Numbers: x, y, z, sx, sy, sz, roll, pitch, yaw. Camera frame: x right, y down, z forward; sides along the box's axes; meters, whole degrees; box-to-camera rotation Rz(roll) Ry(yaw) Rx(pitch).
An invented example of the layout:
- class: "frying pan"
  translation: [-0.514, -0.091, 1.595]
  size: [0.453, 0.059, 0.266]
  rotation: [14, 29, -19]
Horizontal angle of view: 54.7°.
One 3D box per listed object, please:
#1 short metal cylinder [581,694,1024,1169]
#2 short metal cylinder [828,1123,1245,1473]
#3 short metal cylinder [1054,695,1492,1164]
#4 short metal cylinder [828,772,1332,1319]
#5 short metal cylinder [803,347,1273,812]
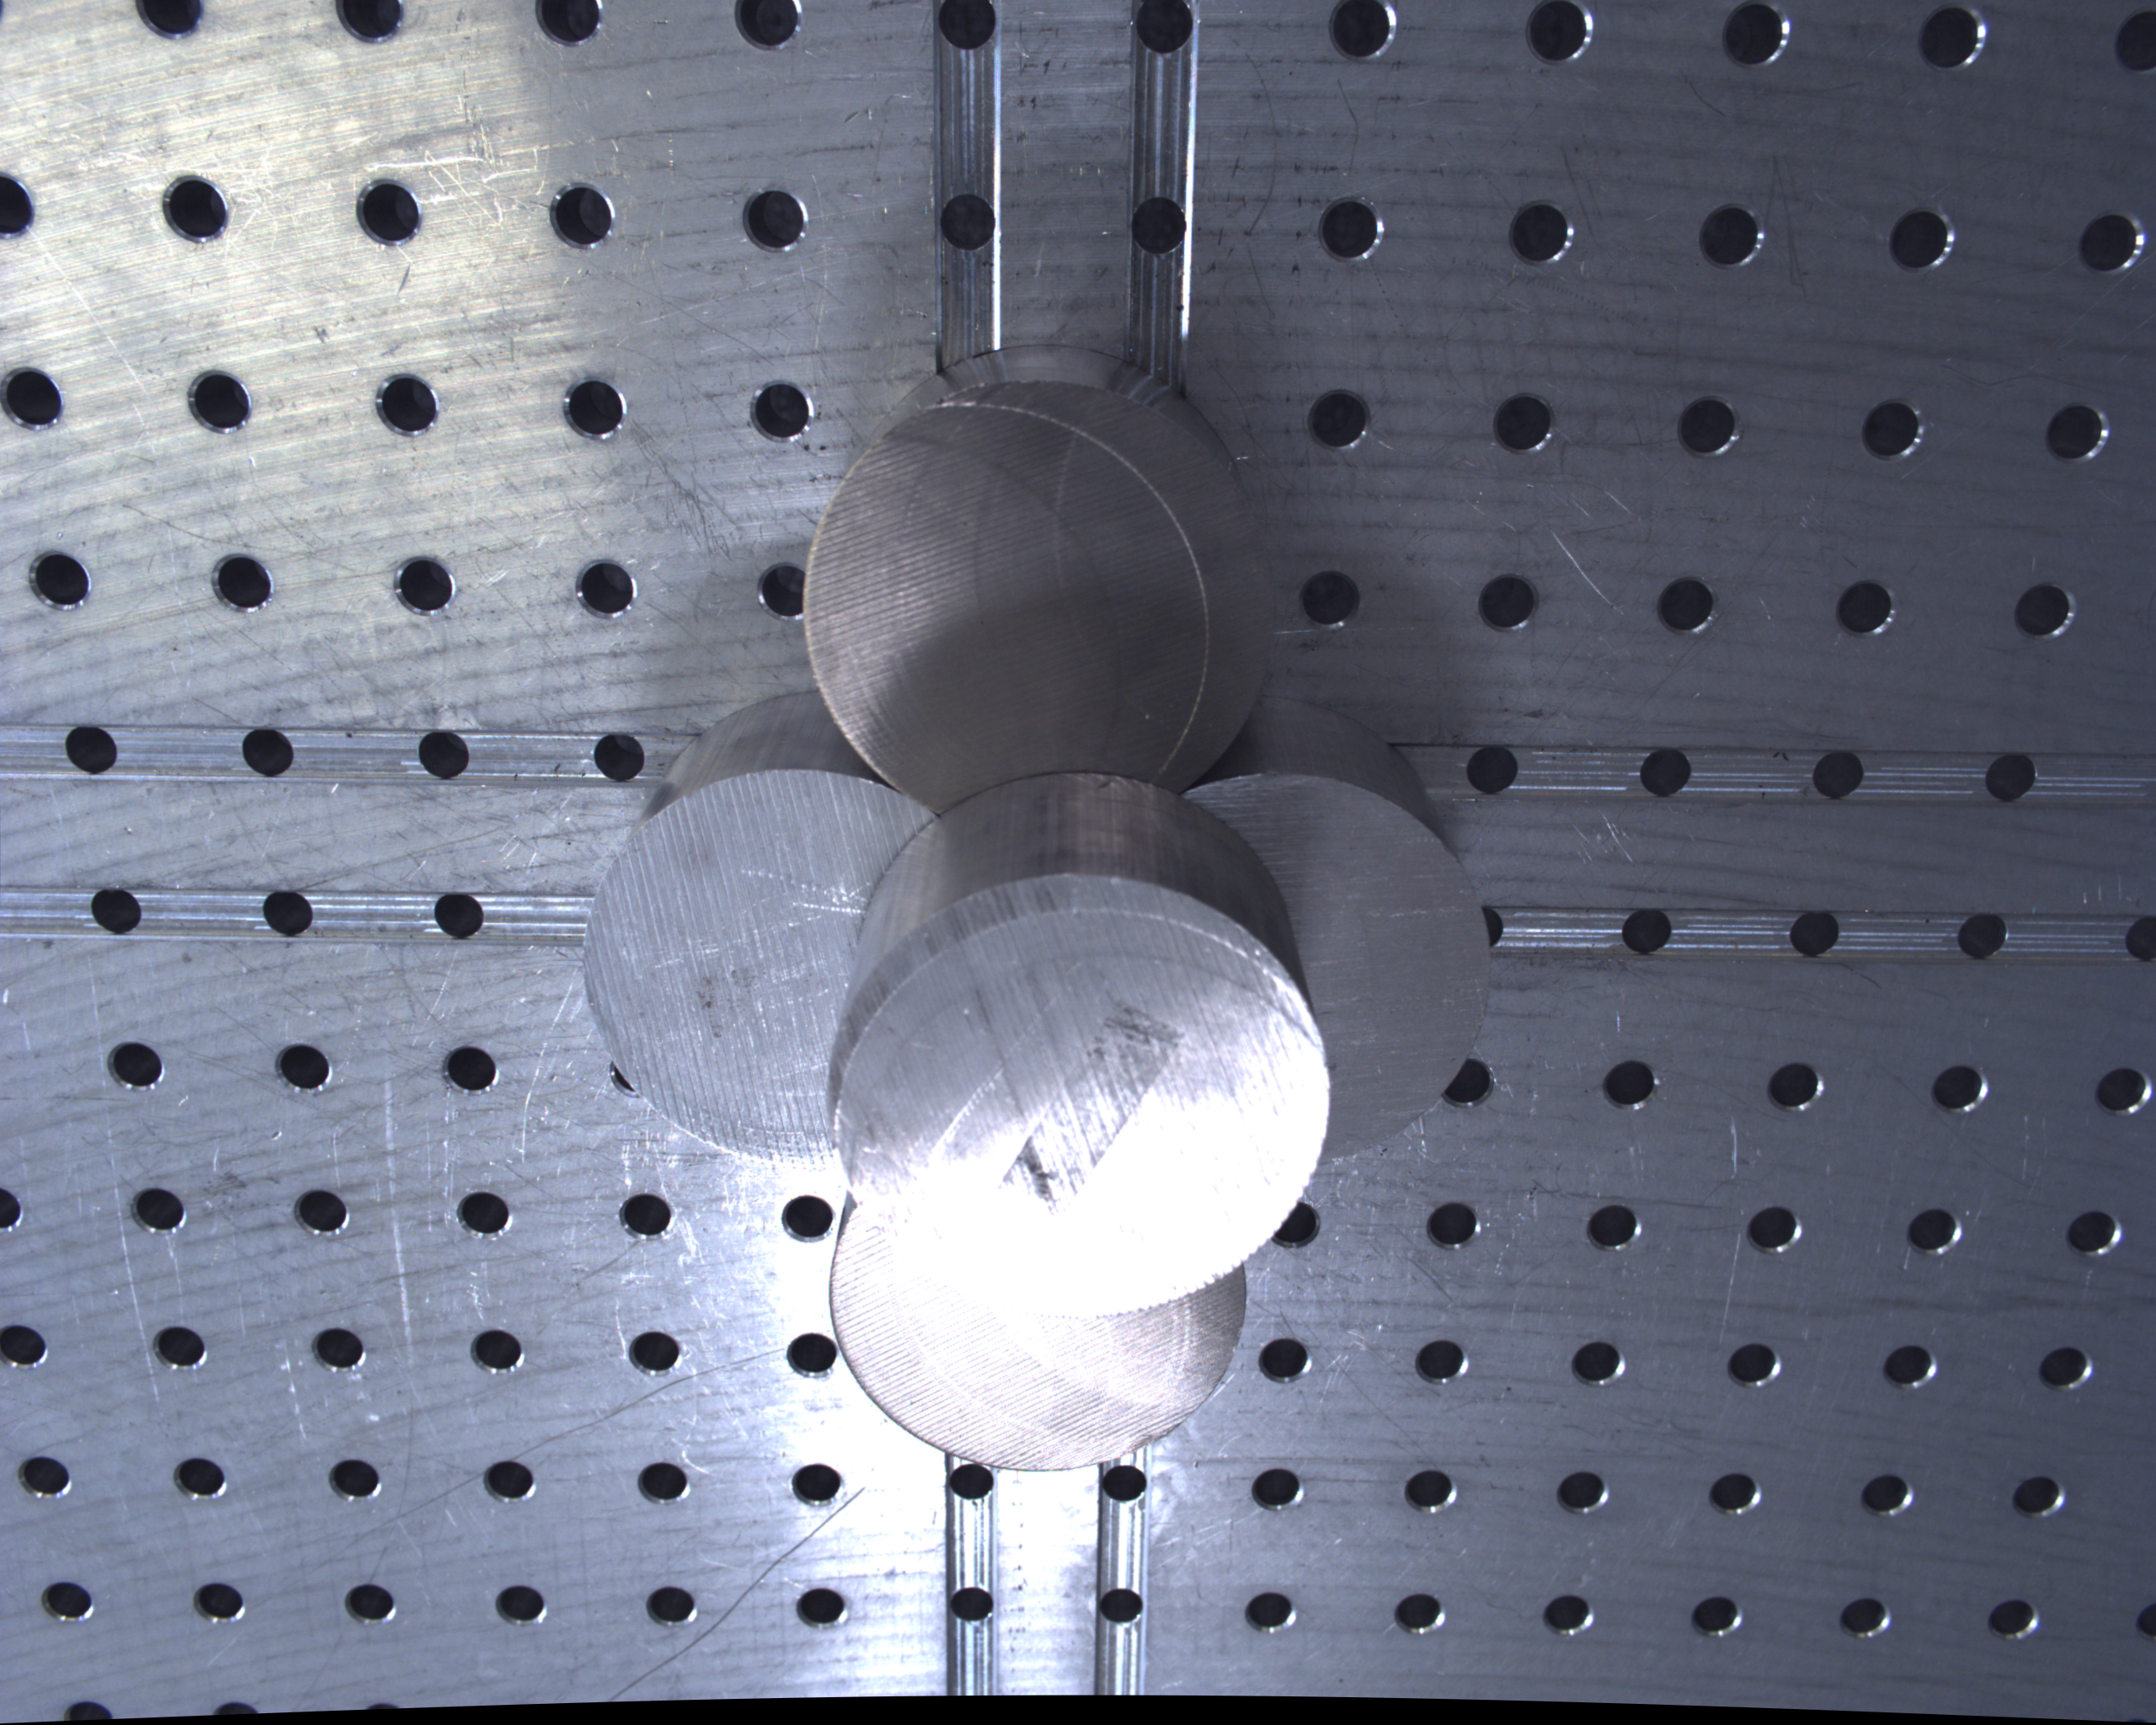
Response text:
- class: "short metal cylinder"
  translation: [-0.050, 0.012, 0.404]
  size: [0.081, 0.050, 0.079]
  rotation: [0, 110, 0]
- class: "short metal cylinder"
  translation: [-0.008, 0.076, 0.427]
  size: [0.081, 0.050, 0.079]
  rotation: [0, 108, -1]
- class: "short metal cylinder"
  translation: [0.035, 0.013, 0.404]
  size: [0.081, 0.050, 0.079]
  rotation: [0, 110, 0]
- class: "short metal cylinder"
  translation: [0.000, 0.030, 0.357]
  size: [0.081, 0.050, 0.079]
  rotation: [0, 110, 0]
- class: "short metal cylinder"
  translation: [-0.007, -0.051, 0.381]
  size: [0.081, 0.050, 0.079]
  rotation: [-1, 110, -1]
